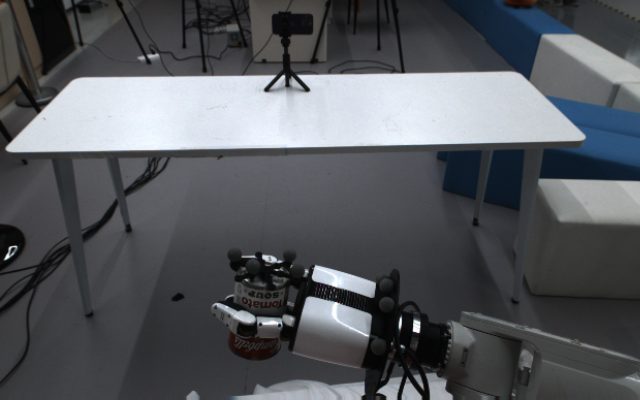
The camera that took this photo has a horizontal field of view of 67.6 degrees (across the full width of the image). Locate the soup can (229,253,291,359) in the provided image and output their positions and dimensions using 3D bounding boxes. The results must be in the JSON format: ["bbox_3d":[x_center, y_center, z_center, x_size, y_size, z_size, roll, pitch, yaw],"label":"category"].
[{"bbox_3d":[-0.074,0.136,0.599,0.067,0.101,0.067,9,19,-3],"label":"soup can"}]
